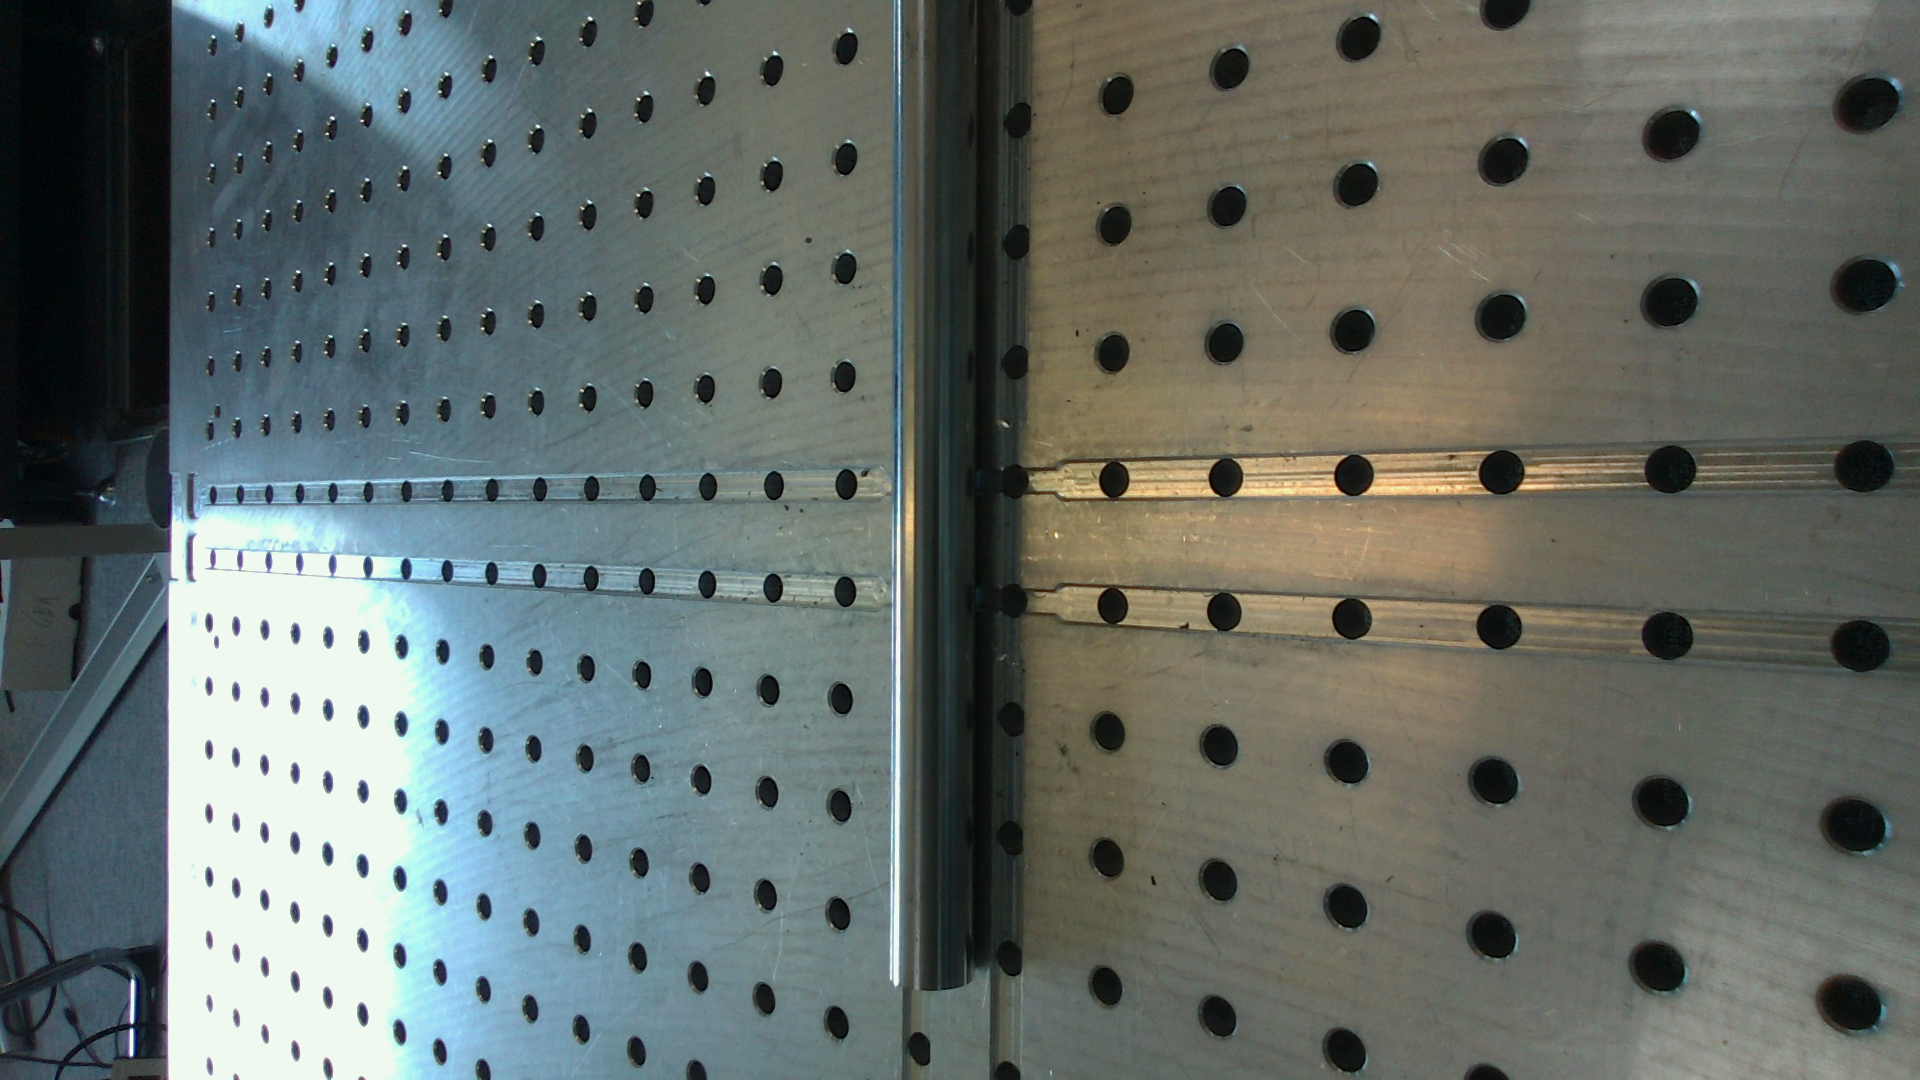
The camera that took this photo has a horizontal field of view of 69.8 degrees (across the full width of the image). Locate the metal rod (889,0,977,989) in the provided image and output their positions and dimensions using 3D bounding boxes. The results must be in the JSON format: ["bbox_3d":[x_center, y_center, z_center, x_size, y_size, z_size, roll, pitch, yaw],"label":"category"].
[{"bbox_3d":[-0.008,-0.022,0.405,0.025,0.025,0.300,1,91,40],"label":"metal rod"}]
